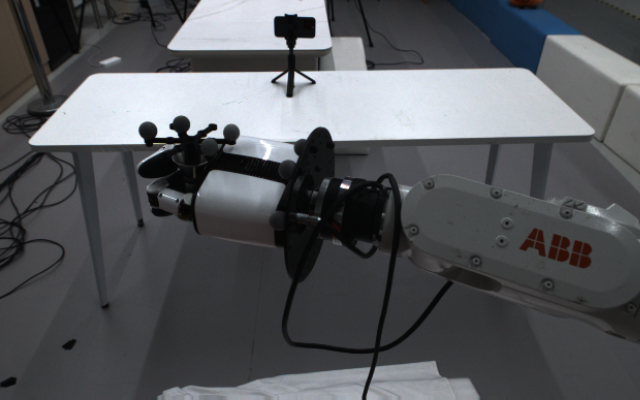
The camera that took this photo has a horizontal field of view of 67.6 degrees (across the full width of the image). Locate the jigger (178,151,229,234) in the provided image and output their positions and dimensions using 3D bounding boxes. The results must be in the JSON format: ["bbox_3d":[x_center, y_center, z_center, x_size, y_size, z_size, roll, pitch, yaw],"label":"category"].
[{"bbox_3d":[-0.130,-0.018,0.522,0.043,0.071,0.043,4,31,-2],"label":"jigger"}]
